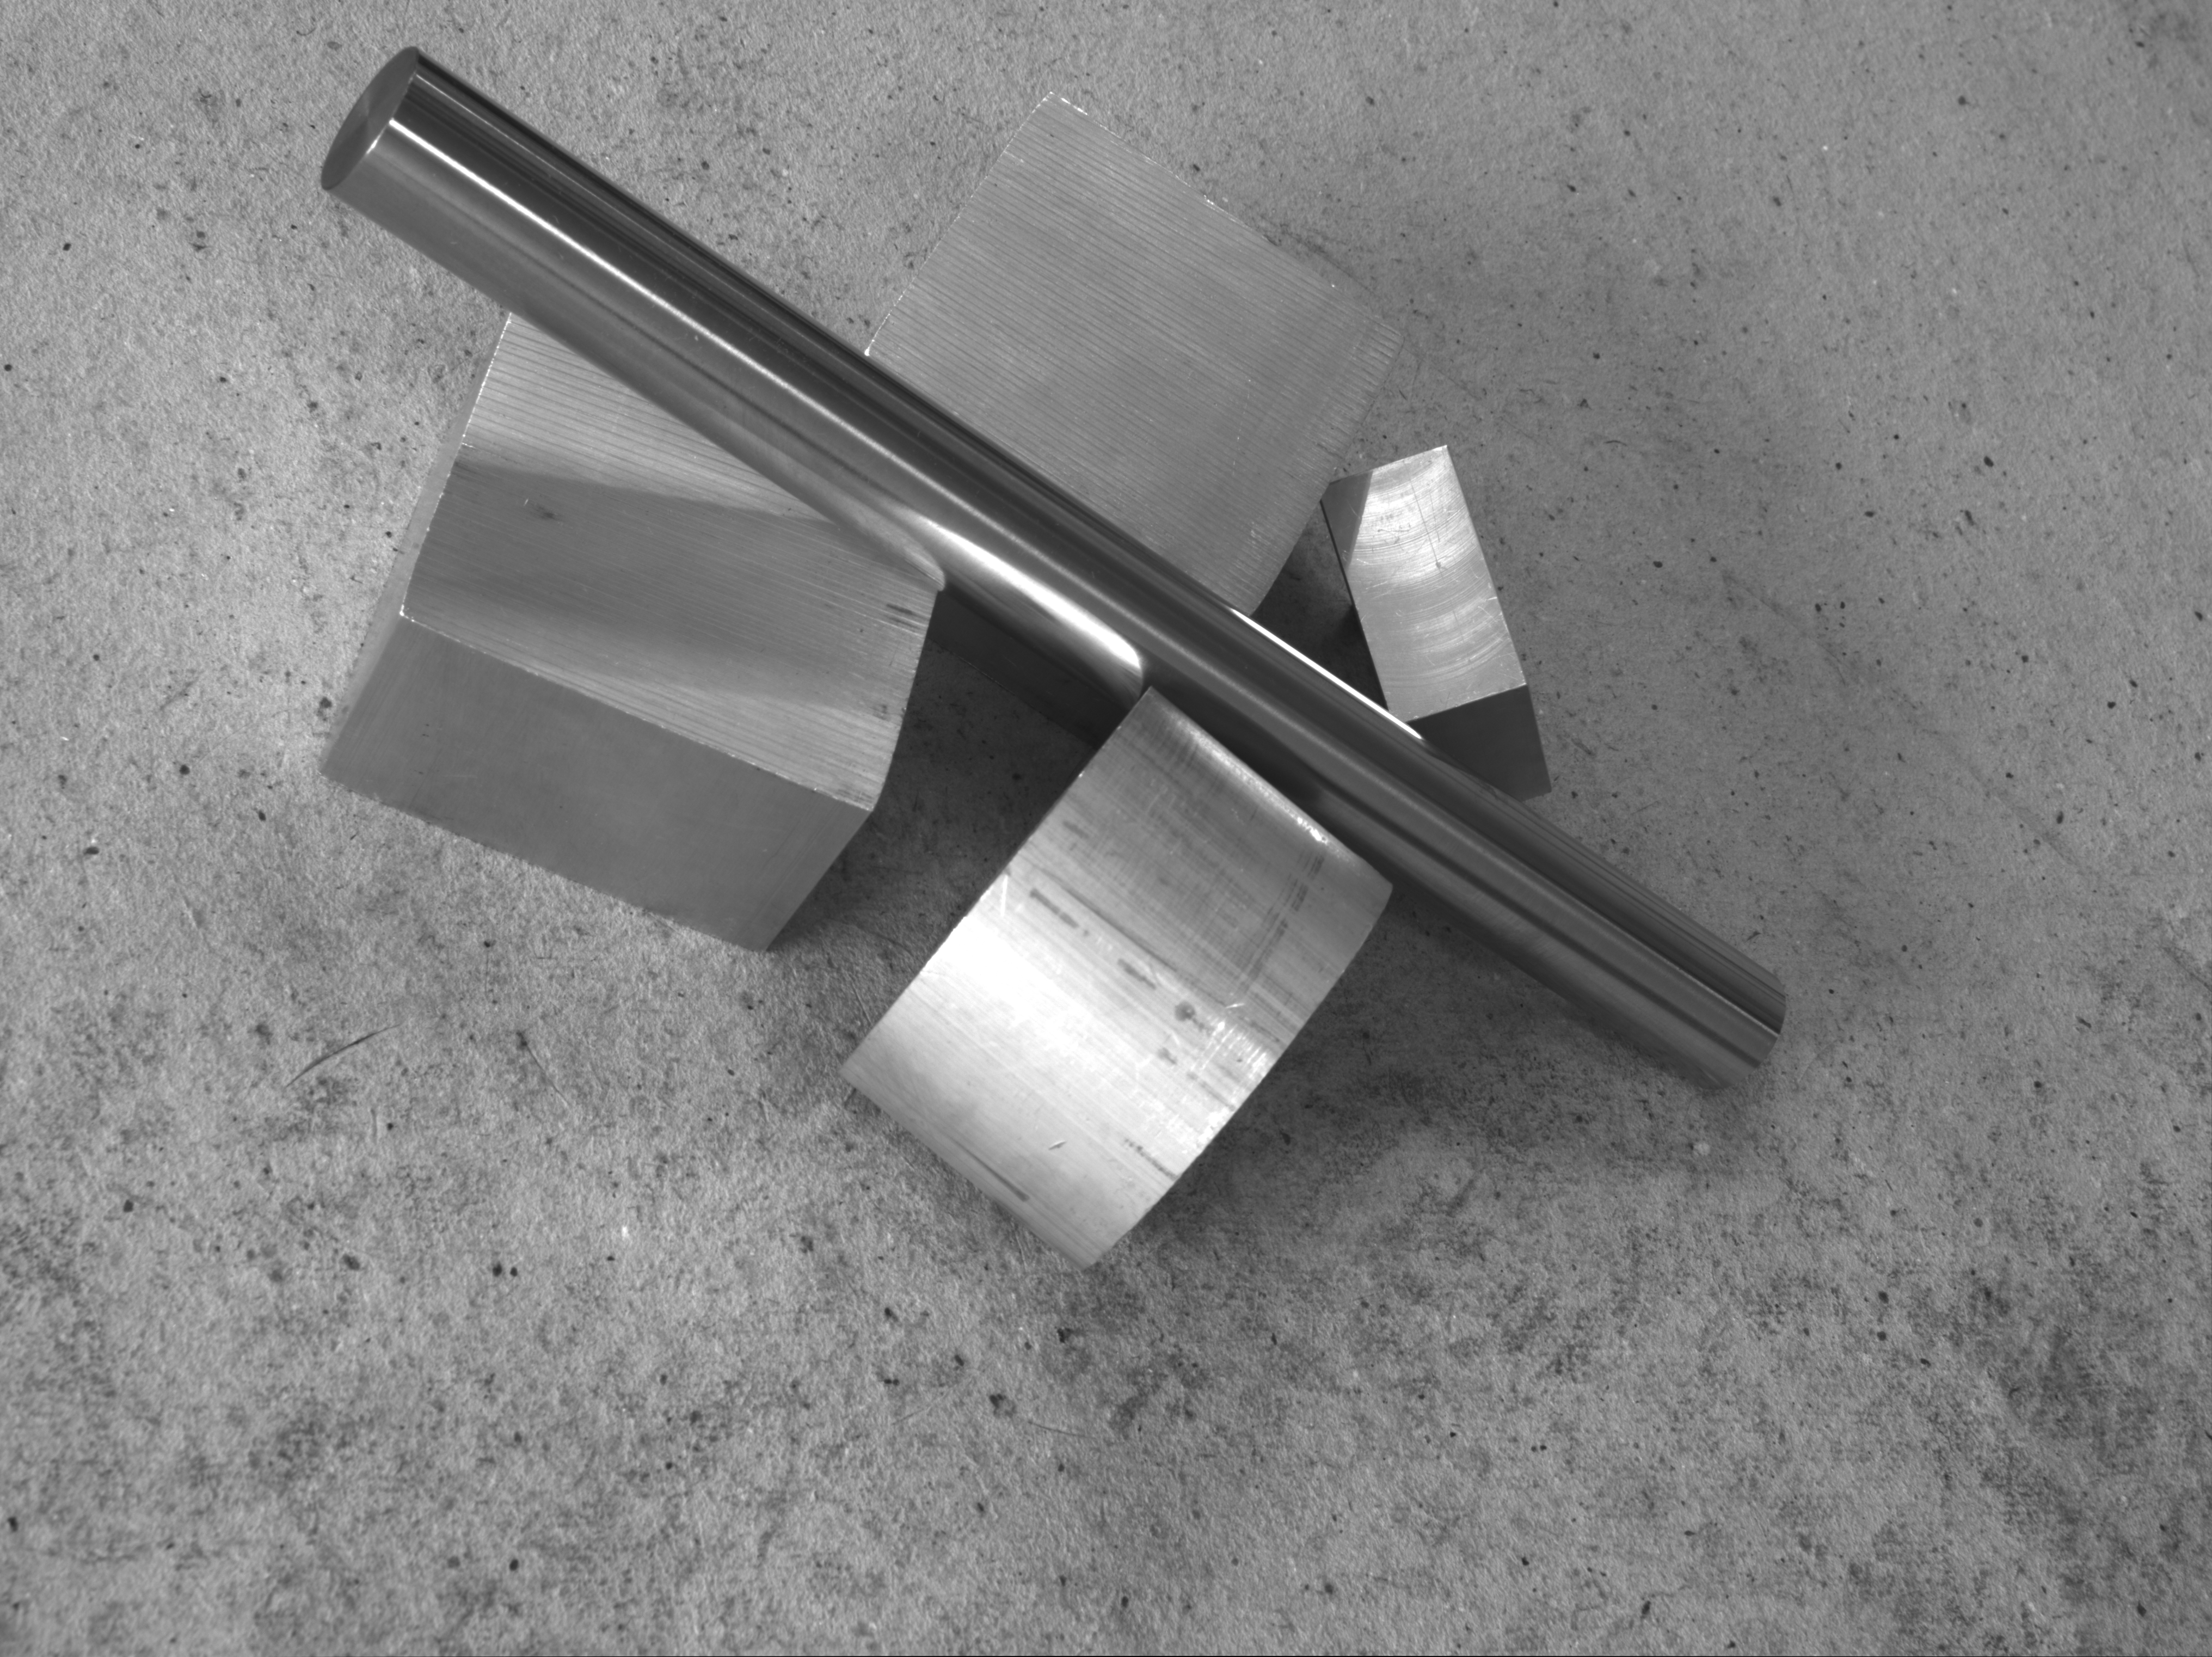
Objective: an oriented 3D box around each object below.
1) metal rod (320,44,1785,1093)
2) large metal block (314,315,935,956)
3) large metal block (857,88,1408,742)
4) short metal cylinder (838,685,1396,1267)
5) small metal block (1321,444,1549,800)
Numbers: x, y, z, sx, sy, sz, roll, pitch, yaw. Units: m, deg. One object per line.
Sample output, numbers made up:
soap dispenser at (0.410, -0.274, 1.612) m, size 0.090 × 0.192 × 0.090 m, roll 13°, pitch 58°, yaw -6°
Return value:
metal rod at (0.004, -0.033, 0.609) m, size 0.301 × 0.025 × 0.025 m, roll 32°, pitch 50°, yaw -28°
large metal block at (-0.075, -0.037, 0.606) m, size 0.080 × 0.050 × 0.080 m, roll 23°, pitch 53°, yaw -14°
large metal block at (-0.004, -0.073, 0.663) m, size 0.080 × 0.050 × 0.080 m, roll 34°, pitch 51°, yaw -6°
short metal cylinder at (0.002, 0.023, 0.590) m, size 0.050 × 0.080 × 0.080 m, roll 39°, pitch 51°, yaw -1°
small metal block at (0.060, -0.034, 0.674) m, size 0.025 × 0.050 × 0.050 m, roll -17°, pitch 66°, yaw 4°
